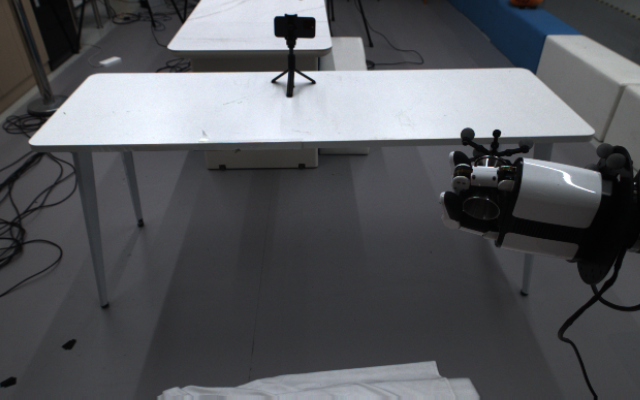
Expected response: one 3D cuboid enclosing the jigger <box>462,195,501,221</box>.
[{"bbox_3d":[0.204,-0.016,0.586,0.043,0.043,0.071,13,58,15],"label":"jigger"}]
